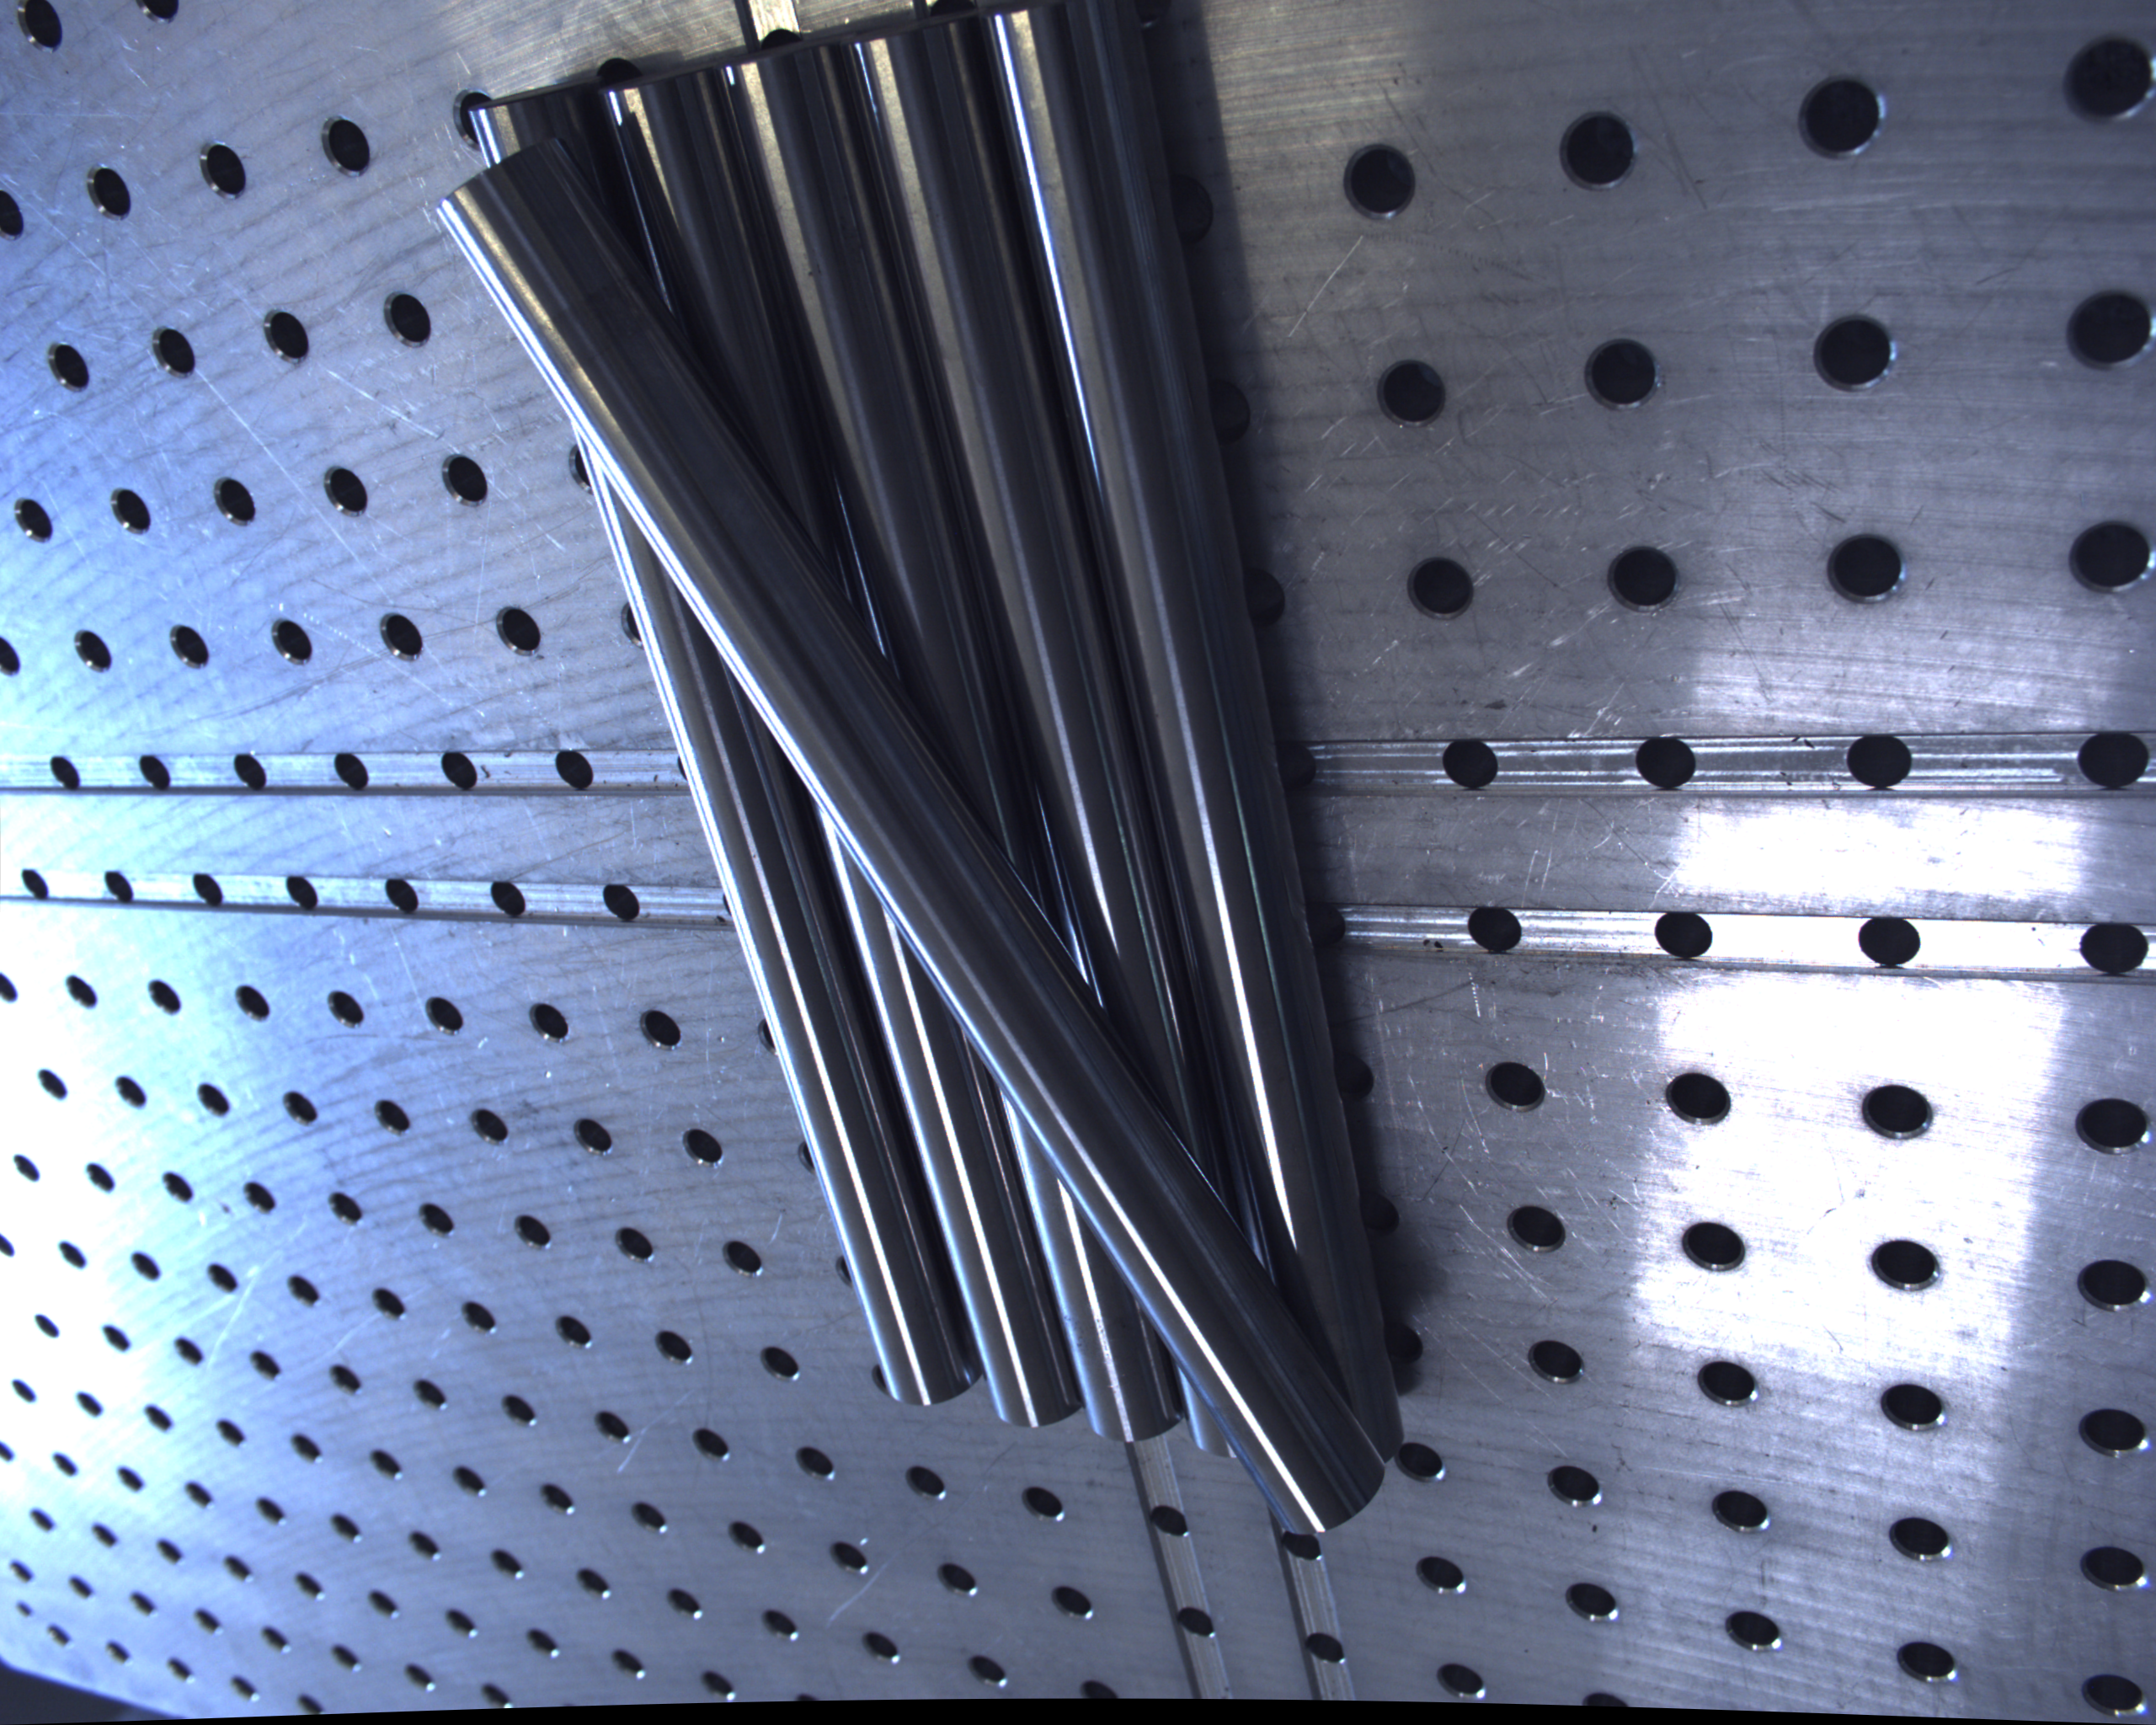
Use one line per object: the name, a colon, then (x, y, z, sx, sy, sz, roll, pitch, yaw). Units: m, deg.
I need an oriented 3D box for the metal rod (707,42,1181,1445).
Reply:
metal rod: (-0.018, -0.006, 0.417, 0.025, 0.025, 0.298, 1, 119, 28)

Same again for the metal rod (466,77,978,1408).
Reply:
metal rod: (-0.066, -0.008, 0.441, 0.025, 0.025, 0.298, 1, 119, 28)

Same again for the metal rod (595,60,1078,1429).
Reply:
metal rod: (-0.040, -0.006, 0.428, 0.025, 0.025, 0.298, 1, 119, 28)

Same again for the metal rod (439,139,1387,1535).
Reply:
metal rod: (-0.023, 0.006, 0.395, 0.025, 0.025, 0.299, -21, 107, 36)

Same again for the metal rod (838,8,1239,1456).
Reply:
metal rod: (0.005, -0.006, 0.406, 0.025, 0.025, 0.298, 1, 119, 28)

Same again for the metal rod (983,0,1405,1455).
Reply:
metal rod: (0.028, -0.006, 0.394, 0.025, 0.025, 0.298, 1, 119, 28)
